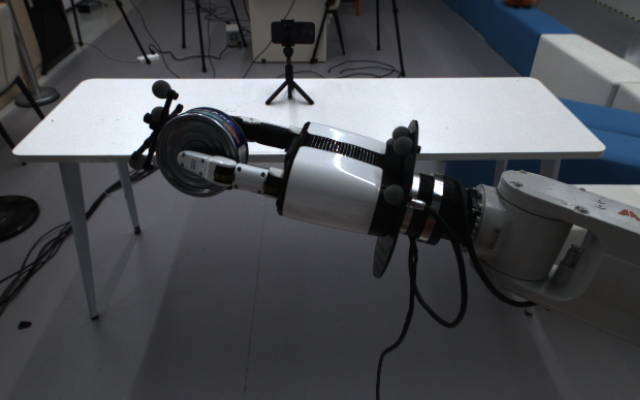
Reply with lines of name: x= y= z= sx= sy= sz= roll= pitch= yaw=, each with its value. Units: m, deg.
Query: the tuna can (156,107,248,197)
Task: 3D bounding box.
tuna can: x=-0.114 y=-0.048 z=0.480 sx=0.085 sy=0.085 sz=0.034 roll=6 pitch=20 yaw=5
